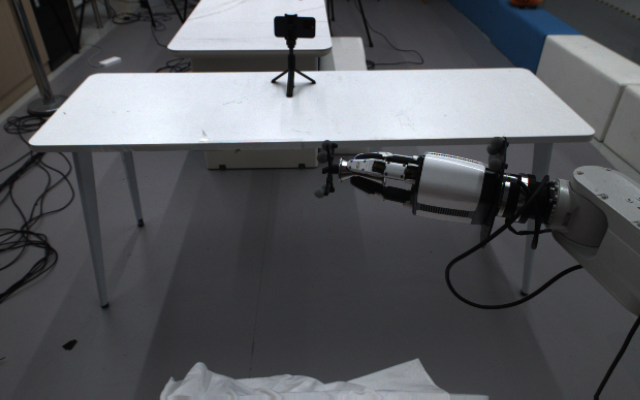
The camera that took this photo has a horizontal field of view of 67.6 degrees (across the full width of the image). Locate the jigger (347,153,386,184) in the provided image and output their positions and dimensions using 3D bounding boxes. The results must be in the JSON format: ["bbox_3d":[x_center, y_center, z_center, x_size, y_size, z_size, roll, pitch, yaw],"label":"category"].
[{"bbox_3d":[0.071,-0.048,0.728,0.071,0.043,0.043,4,34,13],"label":"jigger"}]
